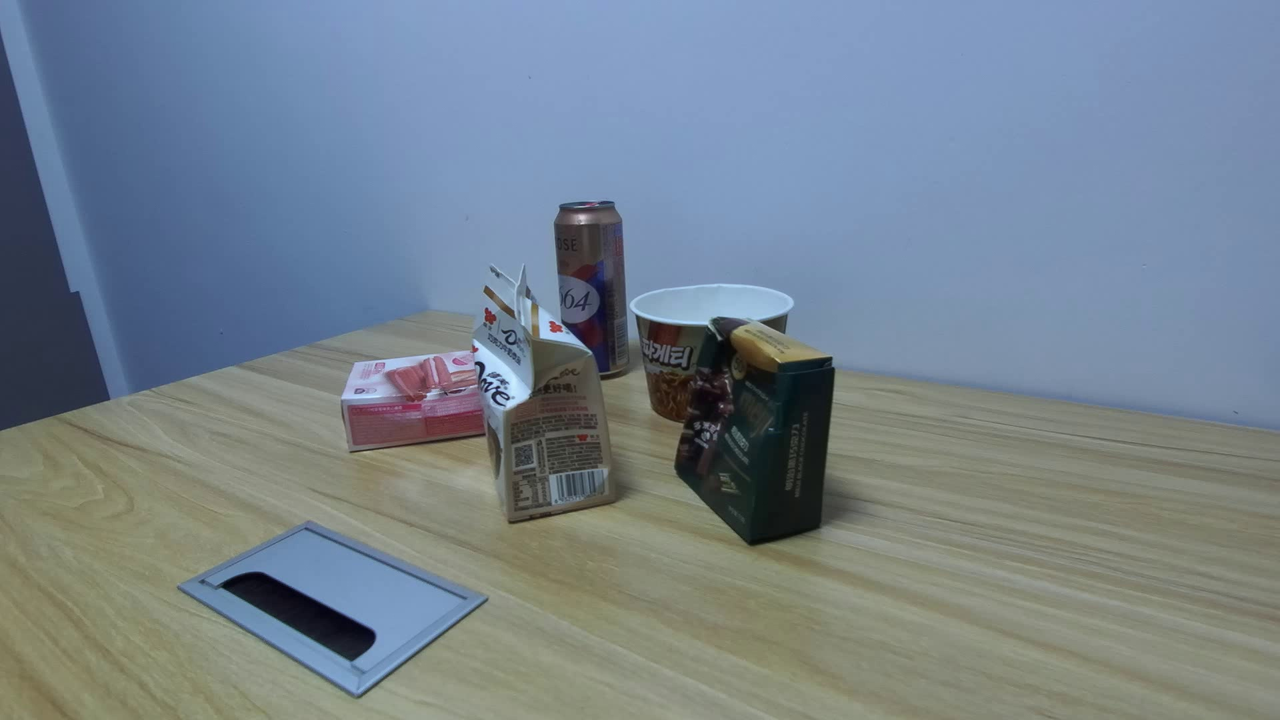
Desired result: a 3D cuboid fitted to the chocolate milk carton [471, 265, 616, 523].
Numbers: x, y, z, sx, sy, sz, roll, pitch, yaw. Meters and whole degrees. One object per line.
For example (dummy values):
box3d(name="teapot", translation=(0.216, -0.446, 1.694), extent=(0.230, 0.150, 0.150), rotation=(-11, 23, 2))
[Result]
box3d(name="chocolate milk carton", translation=(-0.067, 0.016, 0.463), extent=(0.074, 0.155, 0.076), rotation=(-10, 20, -16))

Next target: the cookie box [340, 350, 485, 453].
box3d(name="cookie box", translation=(-0.157, 0.029, 0.615), extent=(0.188, 0.049, 0.105), rotation=(-7, 19, -13))

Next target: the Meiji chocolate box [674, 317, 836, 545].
box3d(name="Meiji chocolate box", translation=(0.072, 0.039, 0.447), extent=(0.052, 0.117, 0.117), rotation=(-2, 17, -22))

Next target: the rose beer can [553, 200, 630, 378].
box3d(name="rose beer can", translation=(-0.048, -0.069, 0.704), extent=(0.068, 0.169, 0.068), rotation=(-2, 18, 1))

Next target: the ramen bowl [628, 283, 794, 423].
box3d(name="ramen bowl", translation=(0.061, -0.006, 0.616), extent=(0.140, 0.095, 0.140), rotation=(-1, 18, 1))
